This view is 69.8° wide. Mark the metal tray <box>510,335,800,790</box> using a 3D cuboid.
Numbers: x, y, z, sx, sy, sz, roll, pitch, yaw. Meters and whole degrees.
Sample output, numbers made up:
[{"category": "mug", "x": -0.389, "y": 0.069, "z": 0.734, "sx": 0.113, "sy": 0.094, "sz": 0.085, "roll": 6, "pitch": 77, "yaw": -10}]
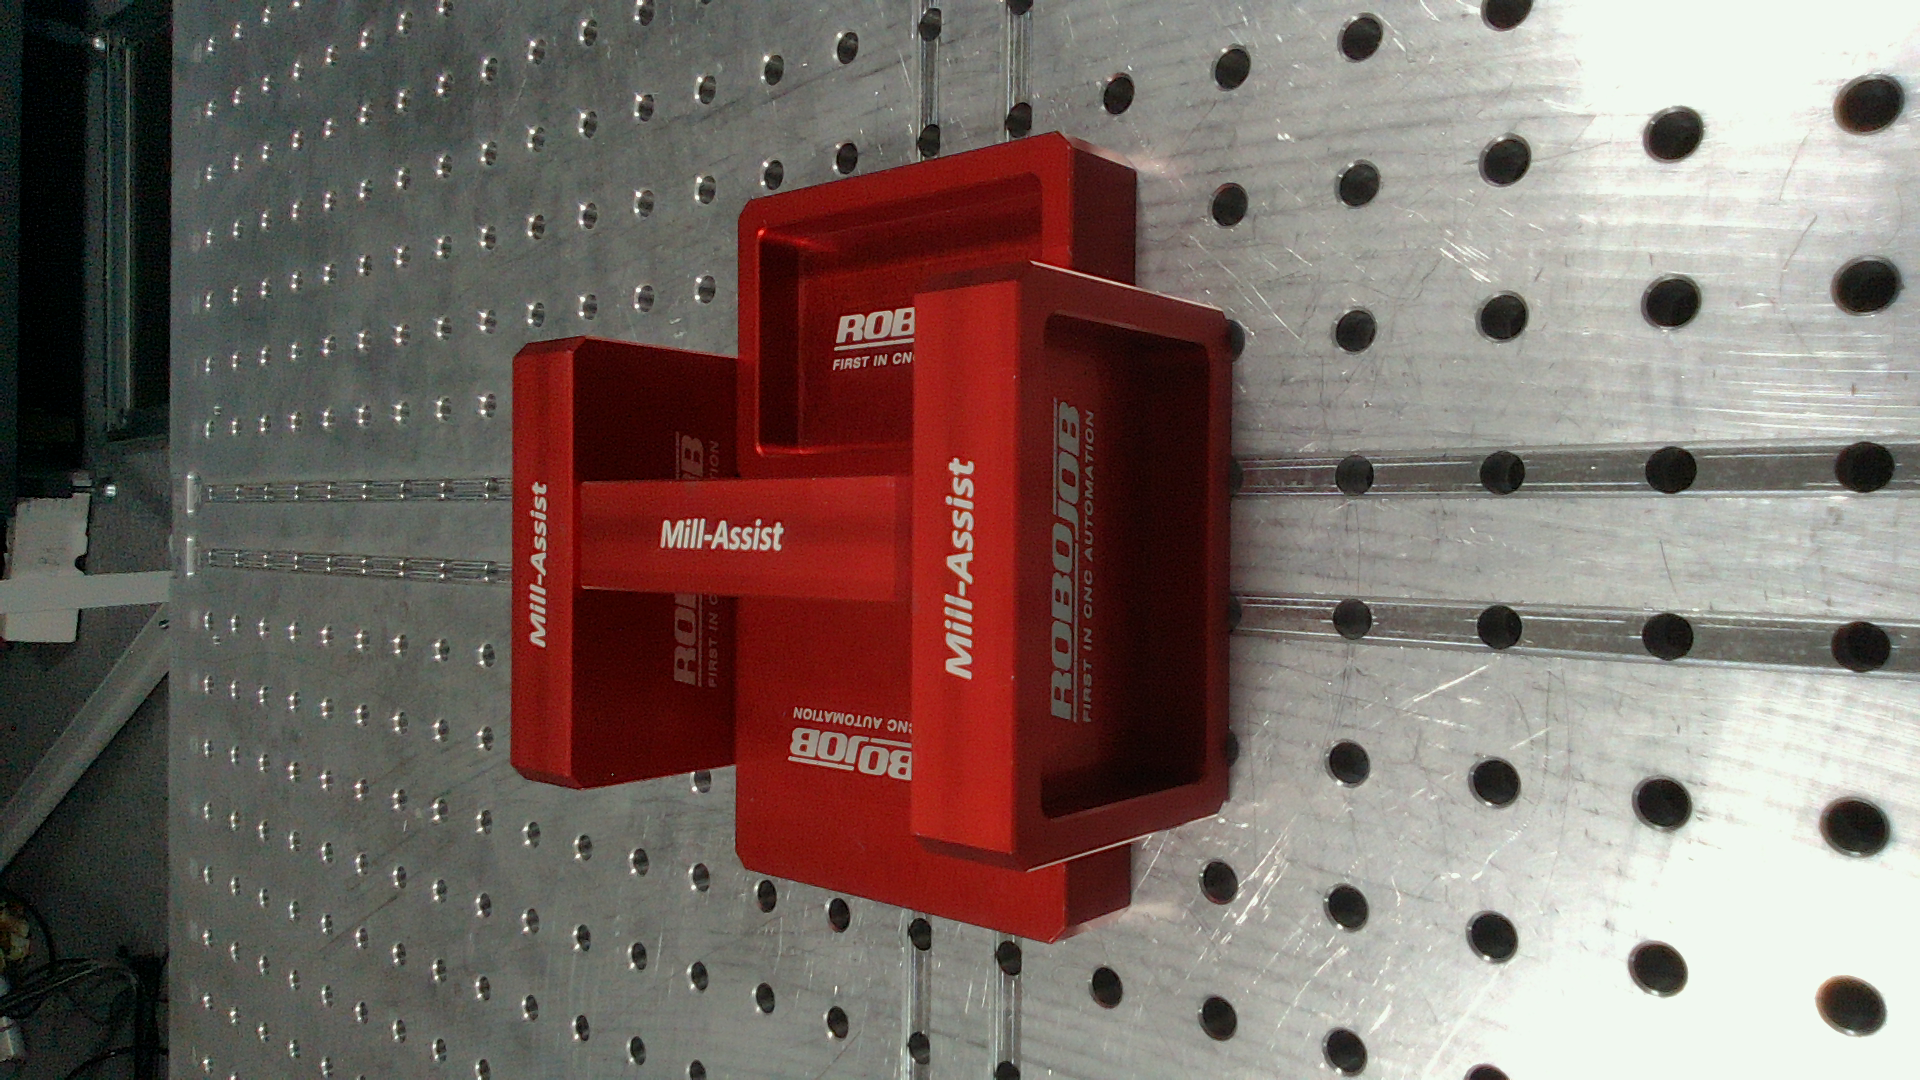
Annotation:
[{"category": "metal tray", "x": -0.093, "y": 0.006, "z": 0.433, "sx": 0.030, "sy": 0.090, "sz": 0.130, "roll": 1, "pitch": 91, "yaw": 40}]

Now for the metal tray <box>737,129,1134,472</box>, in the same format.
[{"category": "metal tray", "x": -0.012, "y": -0.062, "z": 0.404, "sx": 0.129, "sy": 0.030, "sz": 0.090, "roll": 1, "pitch": 90, "yaw": 40}]

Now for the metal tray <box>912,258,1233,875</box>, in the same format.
[{"category": "metal tray", "x": 0.030, "y": 0.005, "z": 0.329, "sx": 0.030, "sy": 0.090, "sz": 0.130, "roll": 1, "pitch": 91, "yaw": 40}]

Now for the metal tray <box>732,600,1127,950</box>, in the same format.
[{"category": "metal tray", "x": -0.013, "y": 0.060, "z": 0.404, "sx": 0.129, "sy": 0.030, "sz": 0.090, "roll": 1, "pitch": 90, "yaw": 40}]

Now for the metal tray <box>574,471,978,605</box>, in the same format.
[{"category": "metal tray", "x": -0.033, "y": -0.001, "z": 0.381, "sx": 0.129, "sy": 0.090, "sz": 0.030, "roll": 1, "pitch": 91, "yaw": 40}]
